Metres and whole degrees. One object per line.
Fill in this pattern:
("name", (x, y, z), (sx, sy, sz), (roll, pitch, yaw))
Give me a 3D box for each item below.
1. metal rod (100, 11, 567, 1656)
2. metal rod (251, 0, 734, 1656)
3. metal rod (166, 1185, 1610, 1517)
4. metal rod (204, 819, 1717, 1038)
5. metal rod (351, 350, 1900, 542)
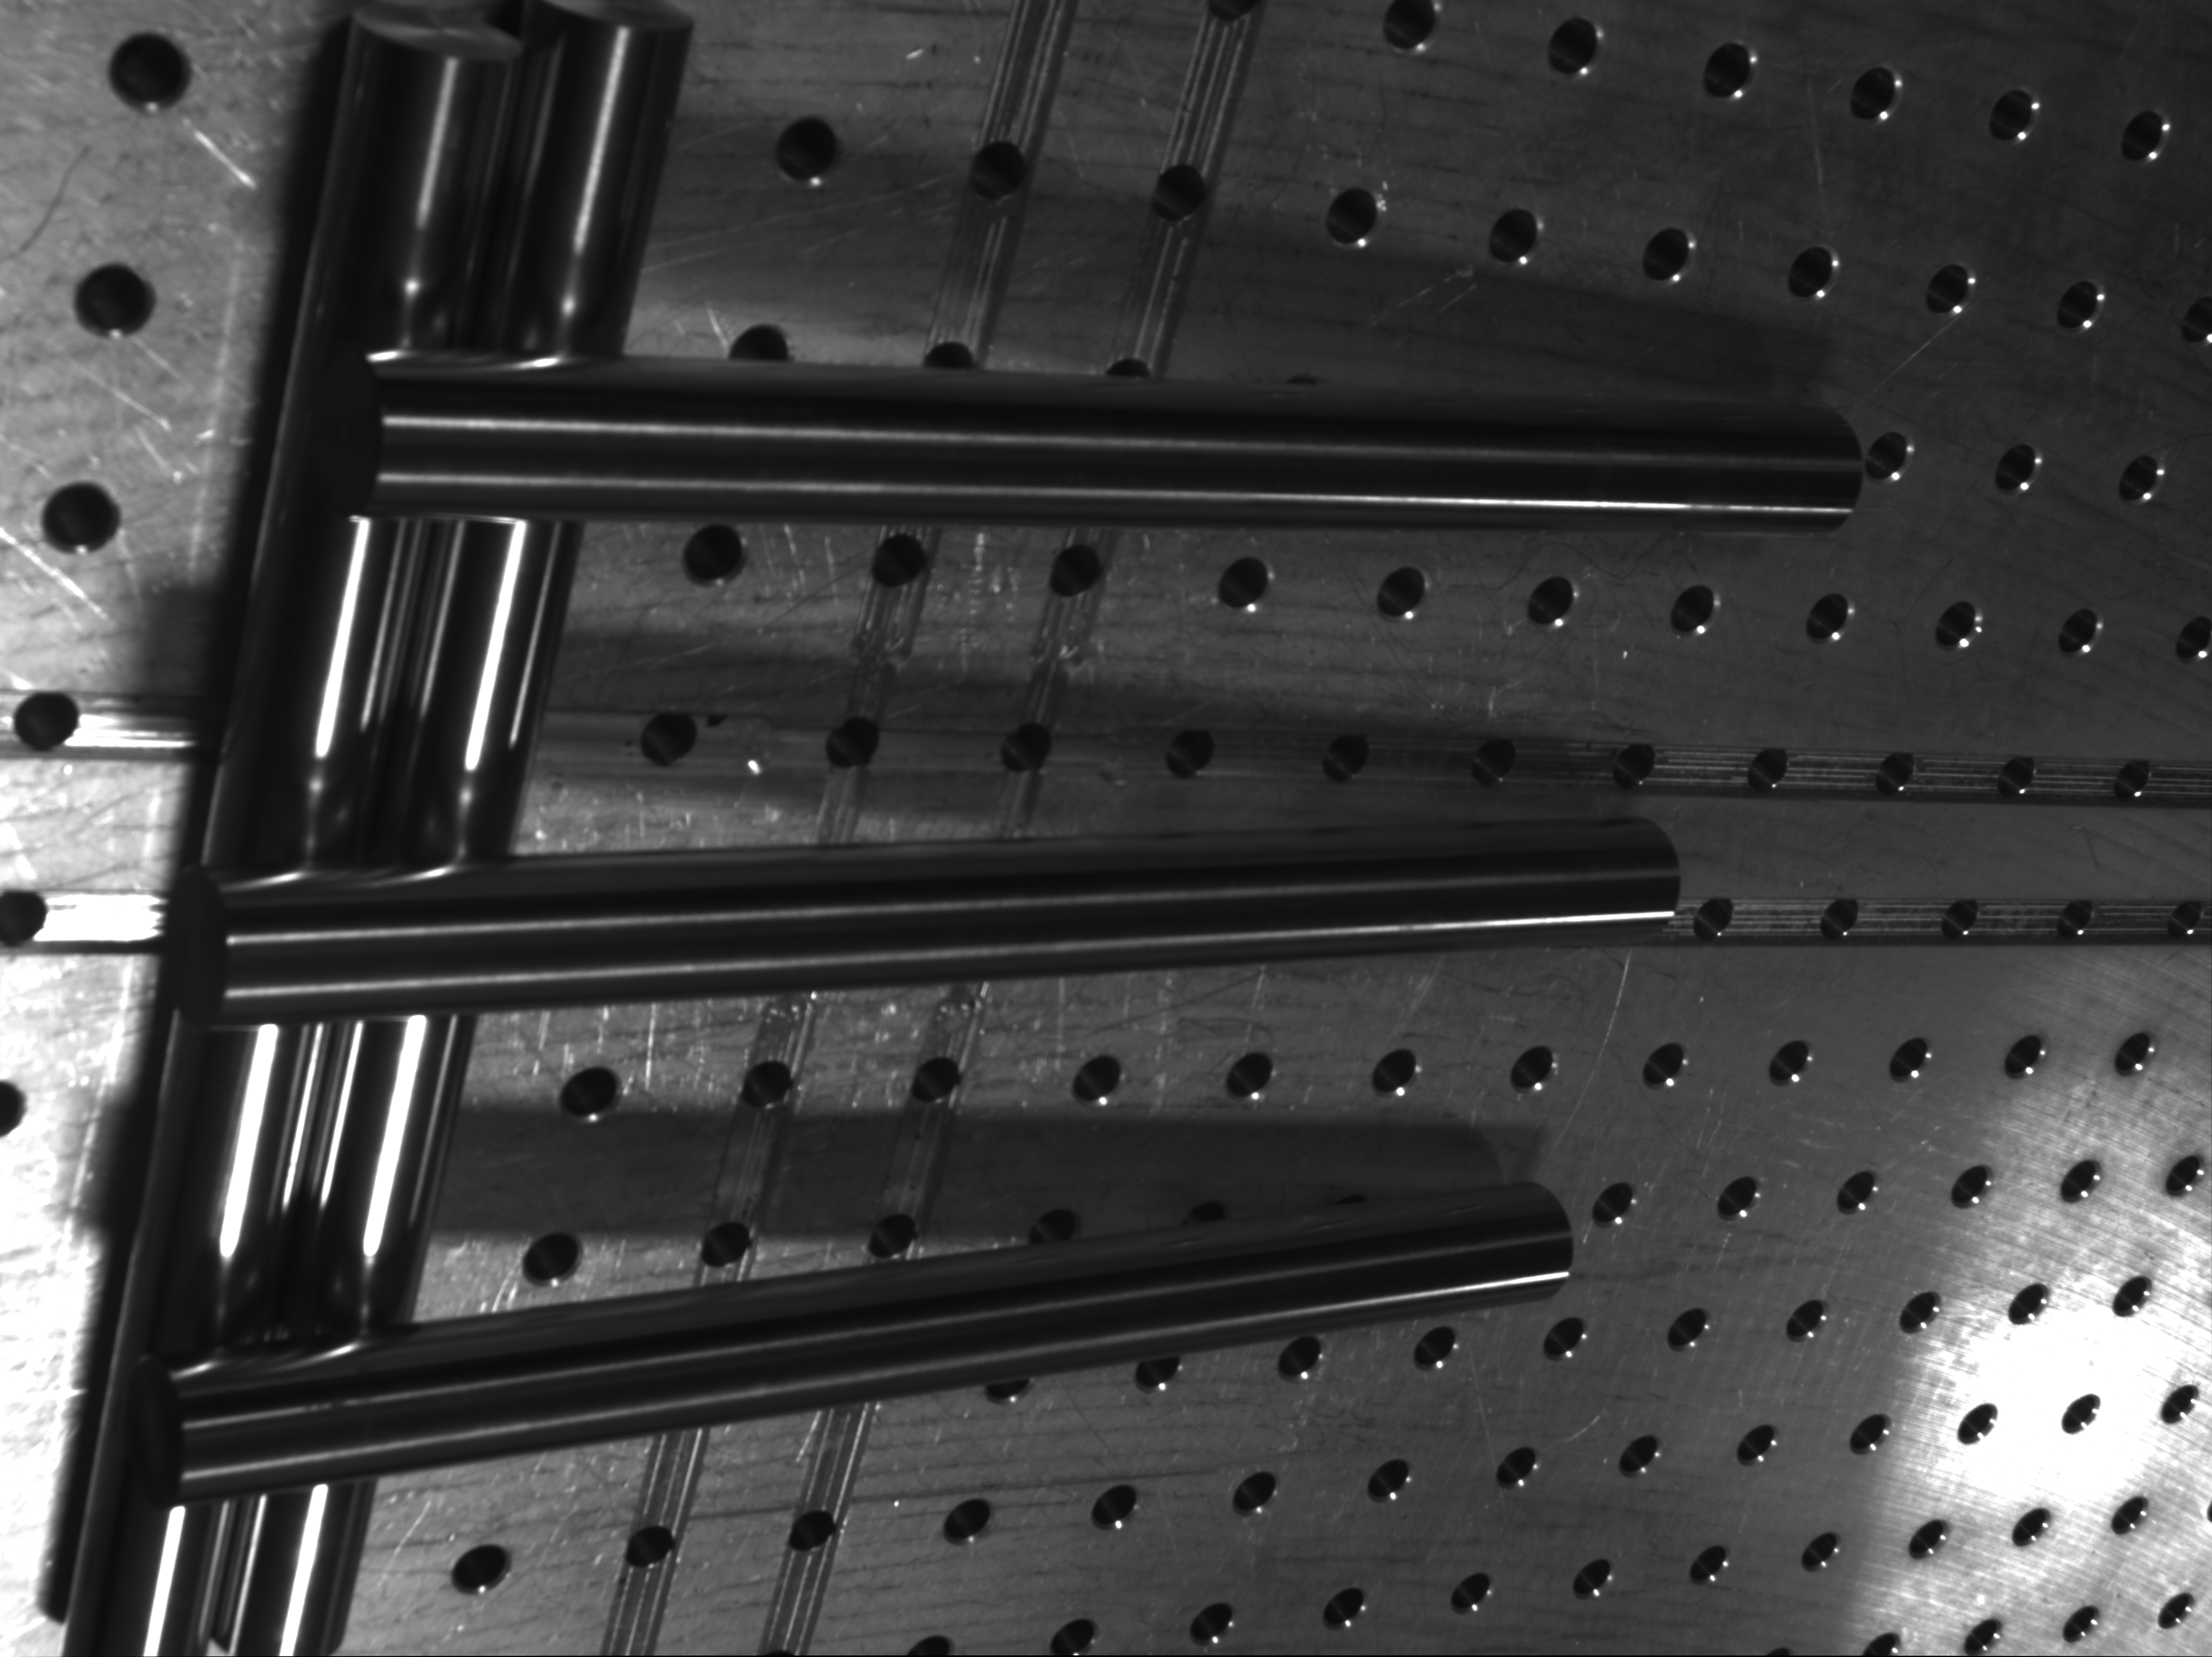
("metal rod", (-0.128, 0.018, 0.589), (0.025, 0.025, 0.300), (1, 118, -31))
("metal rod", (-0.105, 0.012, 0.599), (0.025, 0.025, 0.300), (1, 118, -31))
("metal rod", (-0.025, 0.093, 0.678), (0.301, 0.025, 0.025), (-3, 120, -36))
("metal rod", (-0.009, 0.015, 0.638), (0.301, 0.025, 0.025), (-2, 119, -36))
("metal rod", (0.020, -0.061, 0.609), (0.301, 0.025, 0.025), (-3, 120, -36))
